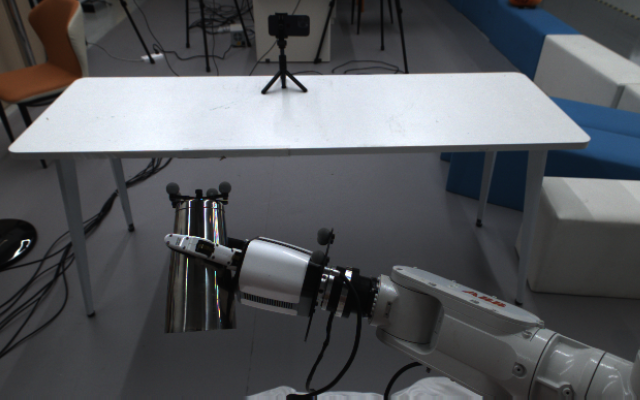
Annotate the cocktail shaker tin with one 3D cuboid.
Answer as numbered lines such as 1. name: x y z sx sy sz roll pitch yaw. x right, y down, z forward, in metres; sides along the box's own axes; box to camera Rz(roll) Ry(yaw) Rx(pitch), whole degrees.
1. cocktail shaker tin: -0.162 0.090 0.652 0.093 0.093 0.170 -3 76 -7
